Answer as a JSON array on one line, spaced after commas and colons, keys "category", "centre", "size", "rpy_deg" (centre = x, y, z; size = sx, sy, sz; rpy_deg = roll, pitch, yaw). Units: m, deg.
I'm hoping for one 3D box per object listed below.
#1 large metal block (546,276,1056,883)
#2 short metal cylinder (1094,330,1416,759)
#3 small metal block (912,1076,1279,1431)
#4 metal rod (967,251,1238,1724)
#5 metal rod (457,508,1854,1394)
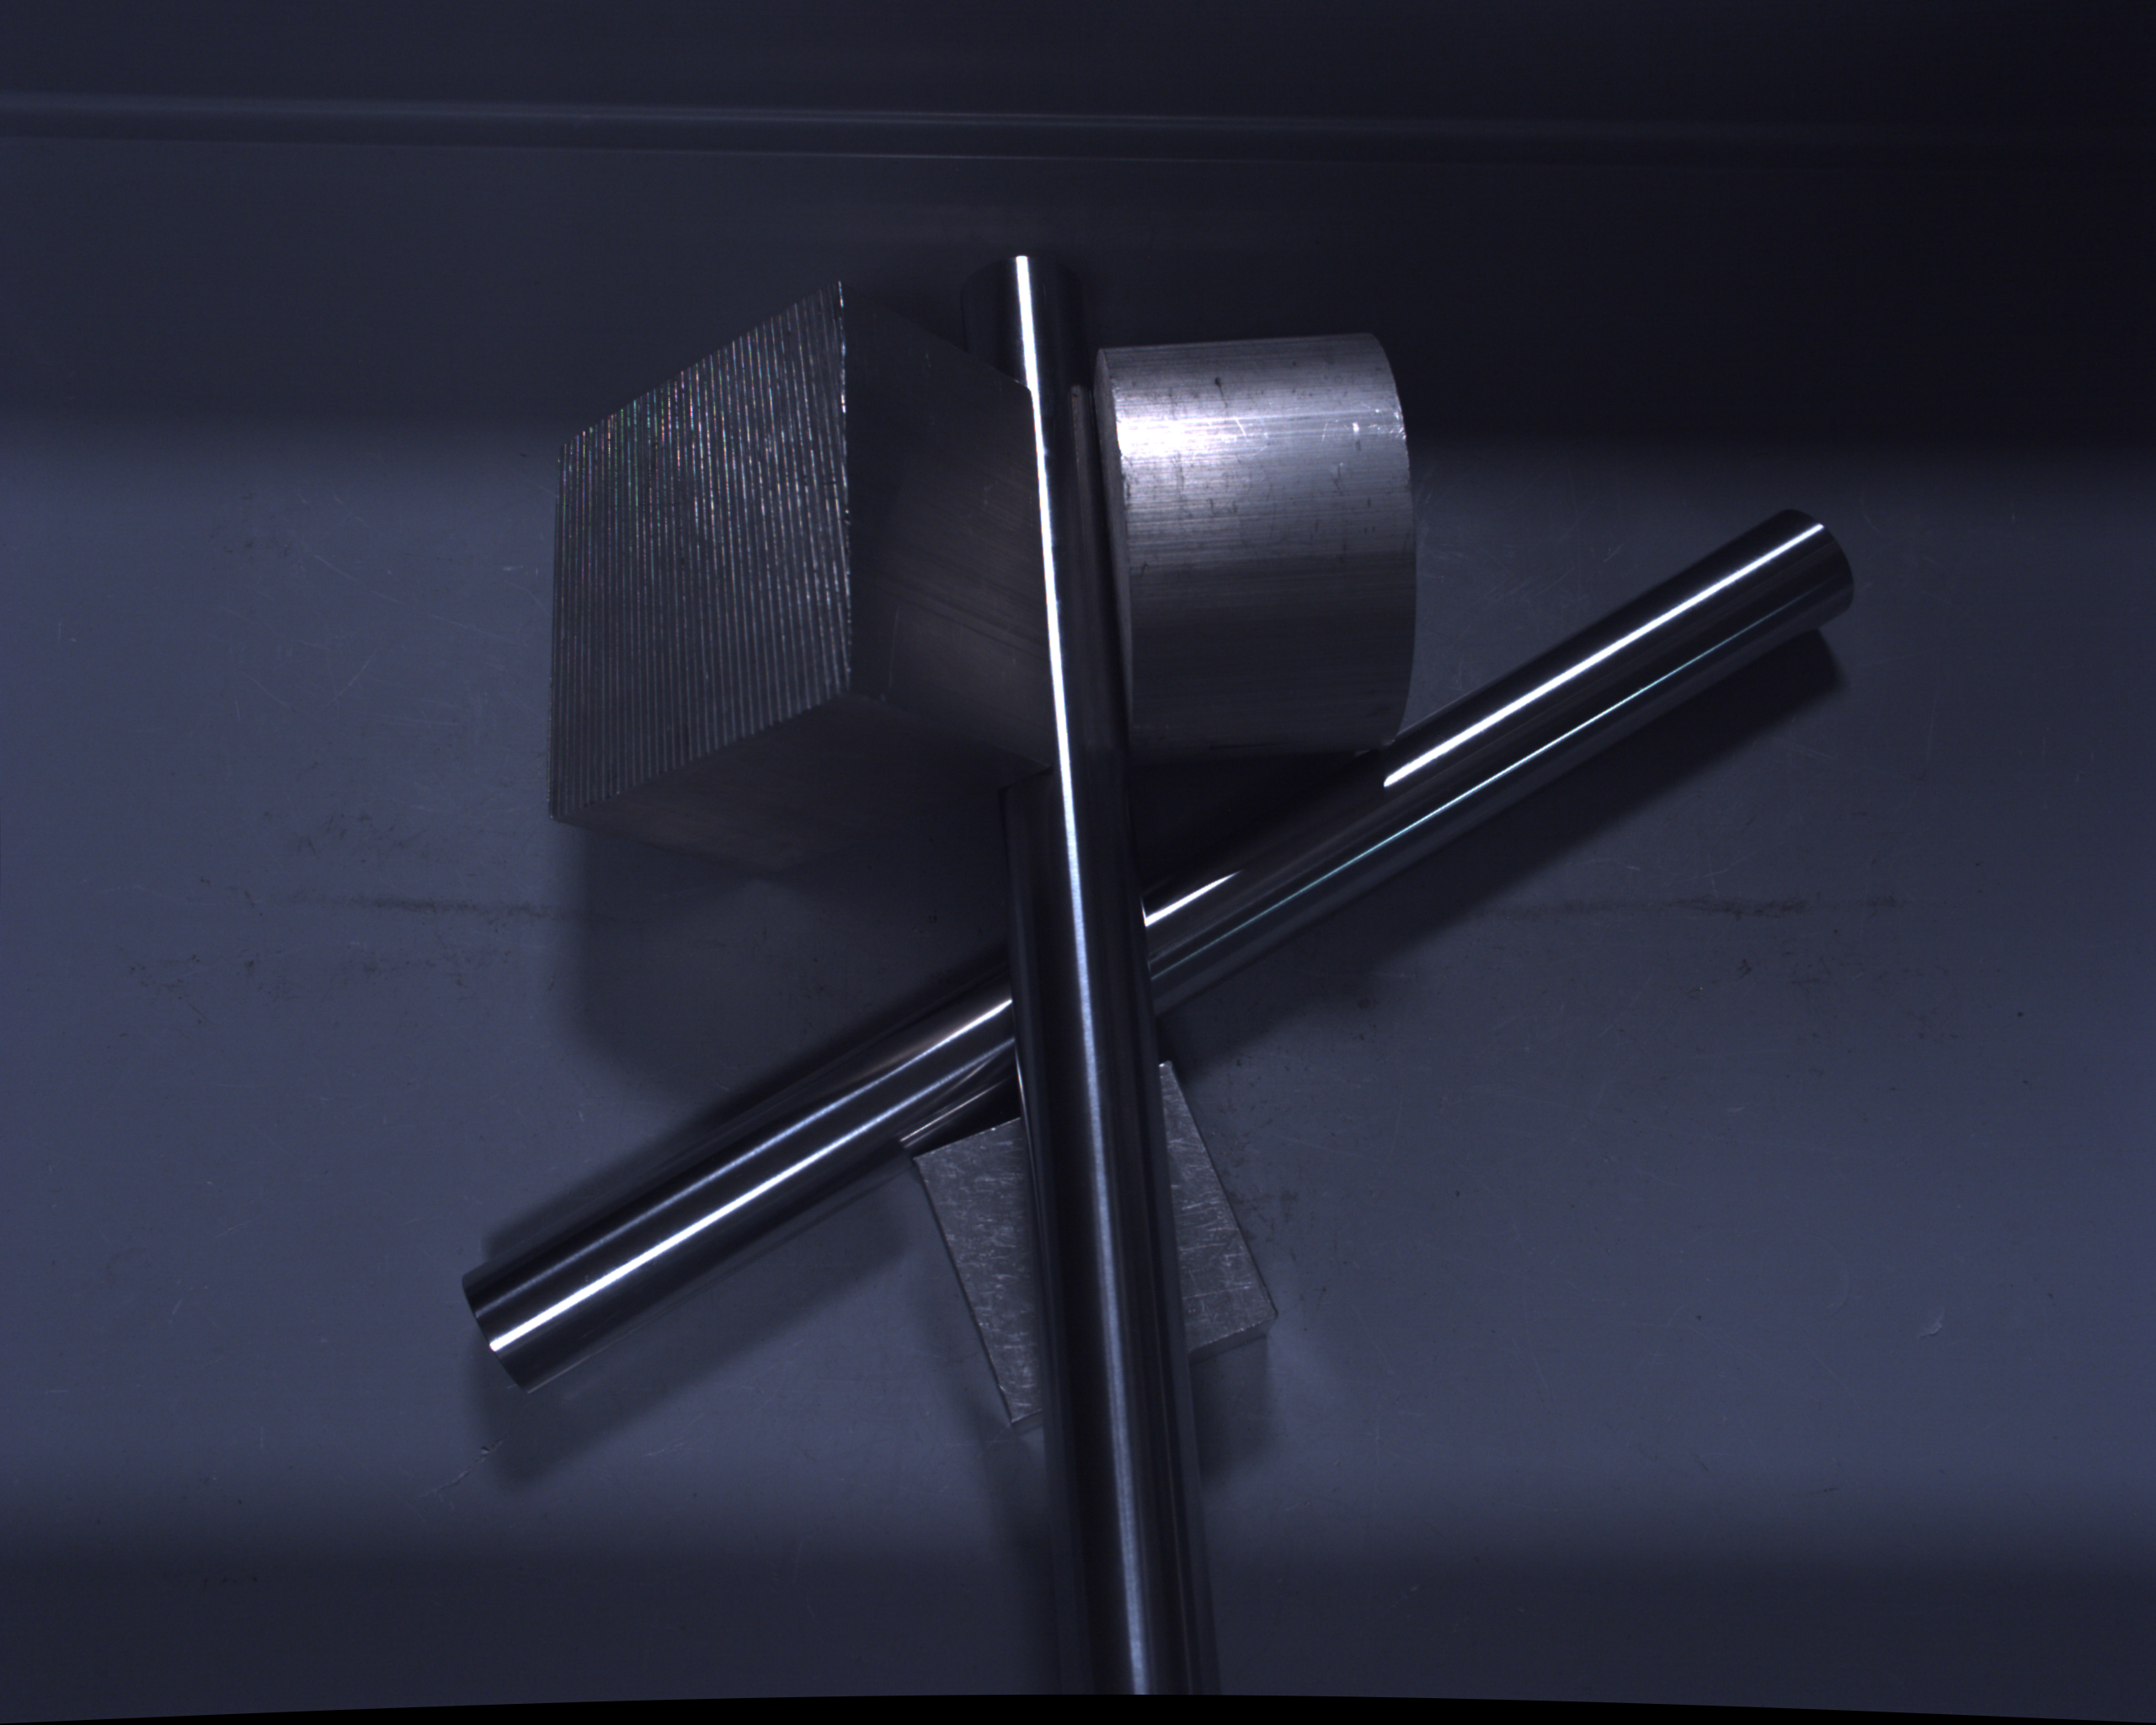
[{"category": "large metal block", "centre": [-0.053, -0.049, 0.392], "size": [0.080, 0.050, 0.080], "rpy_deg": [-19, 65, 36]}, {"category": "short metal cylinder", "centre": [0.031, -0.060, 0.401], "size": [0.050, 0.080, 0.080], "rpy_deg": [-4, 70, -3]}, {"category": "small metal block", "centre": [0.003, 0.071, 0.382], "size": [0.050, 0.025, 0.050], "rpy_deg": [-20, 71, -8]}, {"category": "metal rod", "centre": [0.002, 0.022, 0.373], "size": [0.025, 0.025, 0.299], "rpy_deg": [-4, 69, -2]}, {"category": "metal rod", "centre": [0.023, 0.011, 0.403], "size": [0.302, 0.025, 0.025], "rpy_deg": [-30, 73, -11]}]
